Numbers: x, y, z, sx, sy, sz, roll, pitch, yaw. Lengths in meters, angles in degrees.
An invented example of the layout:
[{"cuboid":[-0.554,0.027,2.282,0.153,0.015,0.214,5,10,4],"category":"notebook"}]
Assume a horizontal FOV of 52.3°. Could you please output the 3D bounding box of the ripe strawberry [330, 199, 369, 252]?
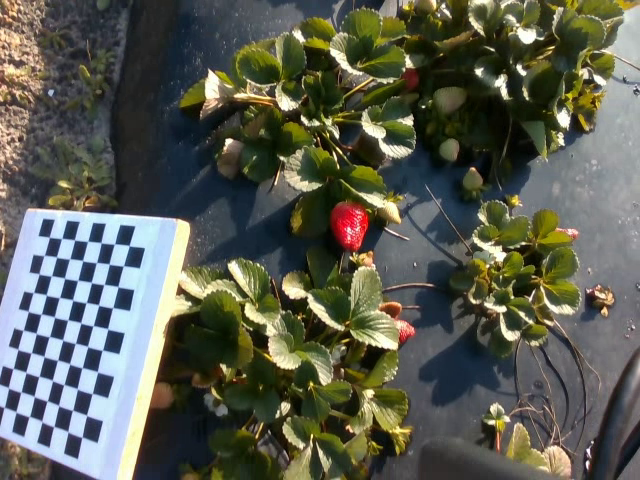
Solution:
[{"cuboid":[0.034,-0.015,0.751,0.057,0.072,0.055,-23,-35,26],"category":"ripe strawberry"}]
